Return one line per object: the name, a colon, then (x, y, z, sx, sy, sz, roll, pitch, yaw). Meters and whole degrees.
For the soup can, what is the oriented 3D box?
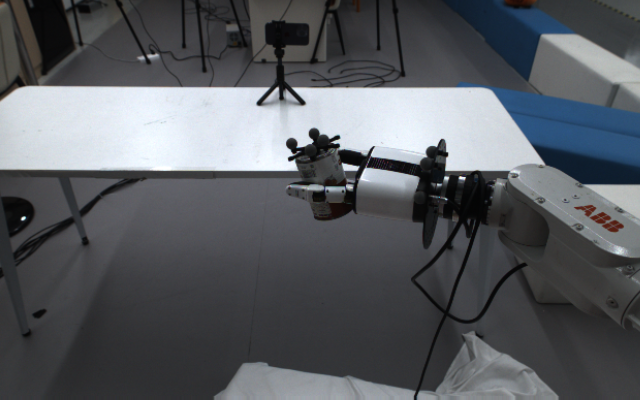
soup can: (0.008, -0.028, 0.740, 0.067, 0.101, 0.067, -16, 22, 7)
